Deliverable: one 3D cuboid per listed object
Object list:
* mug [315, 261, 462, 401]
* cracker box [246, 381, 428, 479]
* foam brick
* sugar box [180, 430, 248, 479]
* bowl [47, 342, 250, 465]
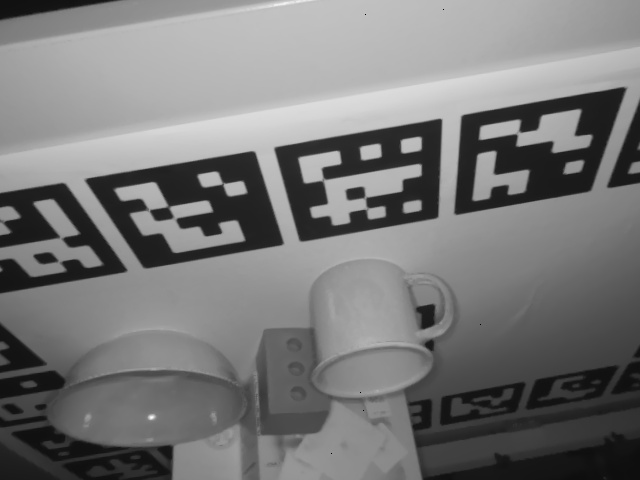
[{"bbox_3d":[0.053,0.066,0.536,0.117,0.082,0.093,-17,148,7],"label":"mug"},{"bbox_3d":[0.020,0.244,0.647,0.166,0.215,0.071,10,139,-21],"label":"cracker box"},{"bbox_3d":[-0.017,0.129,0.615,0.053,0.078,0.051,0,141,-11],"label":"foam brick"},{"bbox_3d":[-0.089,0.257,0.669,0.094,0.177,0.044,4,139,-16],"label":"sugar box"},{"bbox_3d":[-0.141,0.134,0.589,0.162,0.055,0.160,-6,140,-4],"label":"bowl"}]
